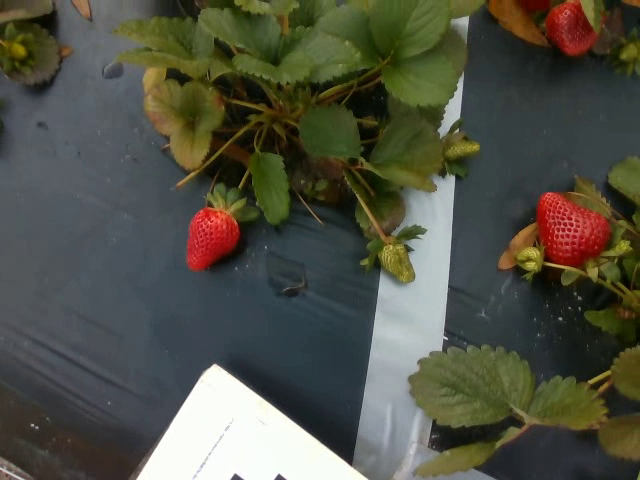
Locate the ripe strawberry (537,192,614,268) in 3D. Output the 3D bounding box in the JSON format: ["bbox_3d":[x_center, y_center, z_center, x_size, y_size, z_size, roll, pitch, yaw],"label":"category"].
[{"bbox_3d":[0.160,-0.010,0.372,0.043,0.062,0.042,-37,-7,30],"label":"ripe strawberry"}]

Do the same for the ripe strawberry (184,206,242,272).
[{"bbox_3d":[-0.067,-0.001,0.359,0.036,0.046,0.040,25,-23,22],"label":"ripe strawberry"}]
